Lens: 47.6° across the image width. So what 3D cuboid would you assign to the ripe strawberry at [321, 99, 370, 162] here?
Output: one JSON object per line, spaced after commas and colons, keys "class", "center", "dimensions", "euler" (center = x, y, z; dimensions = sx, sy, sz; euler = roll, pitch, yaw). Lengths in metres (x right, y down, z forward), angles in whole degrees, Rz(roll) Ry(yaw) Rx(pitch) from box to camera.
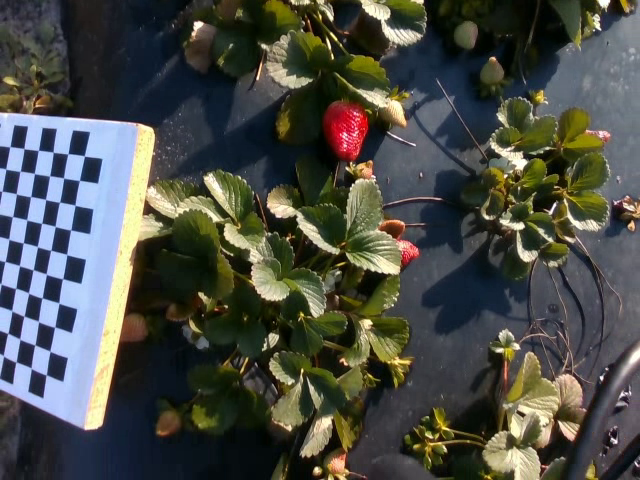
{"class": "ripe strawberry", "center": [0.025, -0.108, 0.729], "dimensions": [0.056, 0.072, 0.055], "euler": [-18, -24, 29]}
